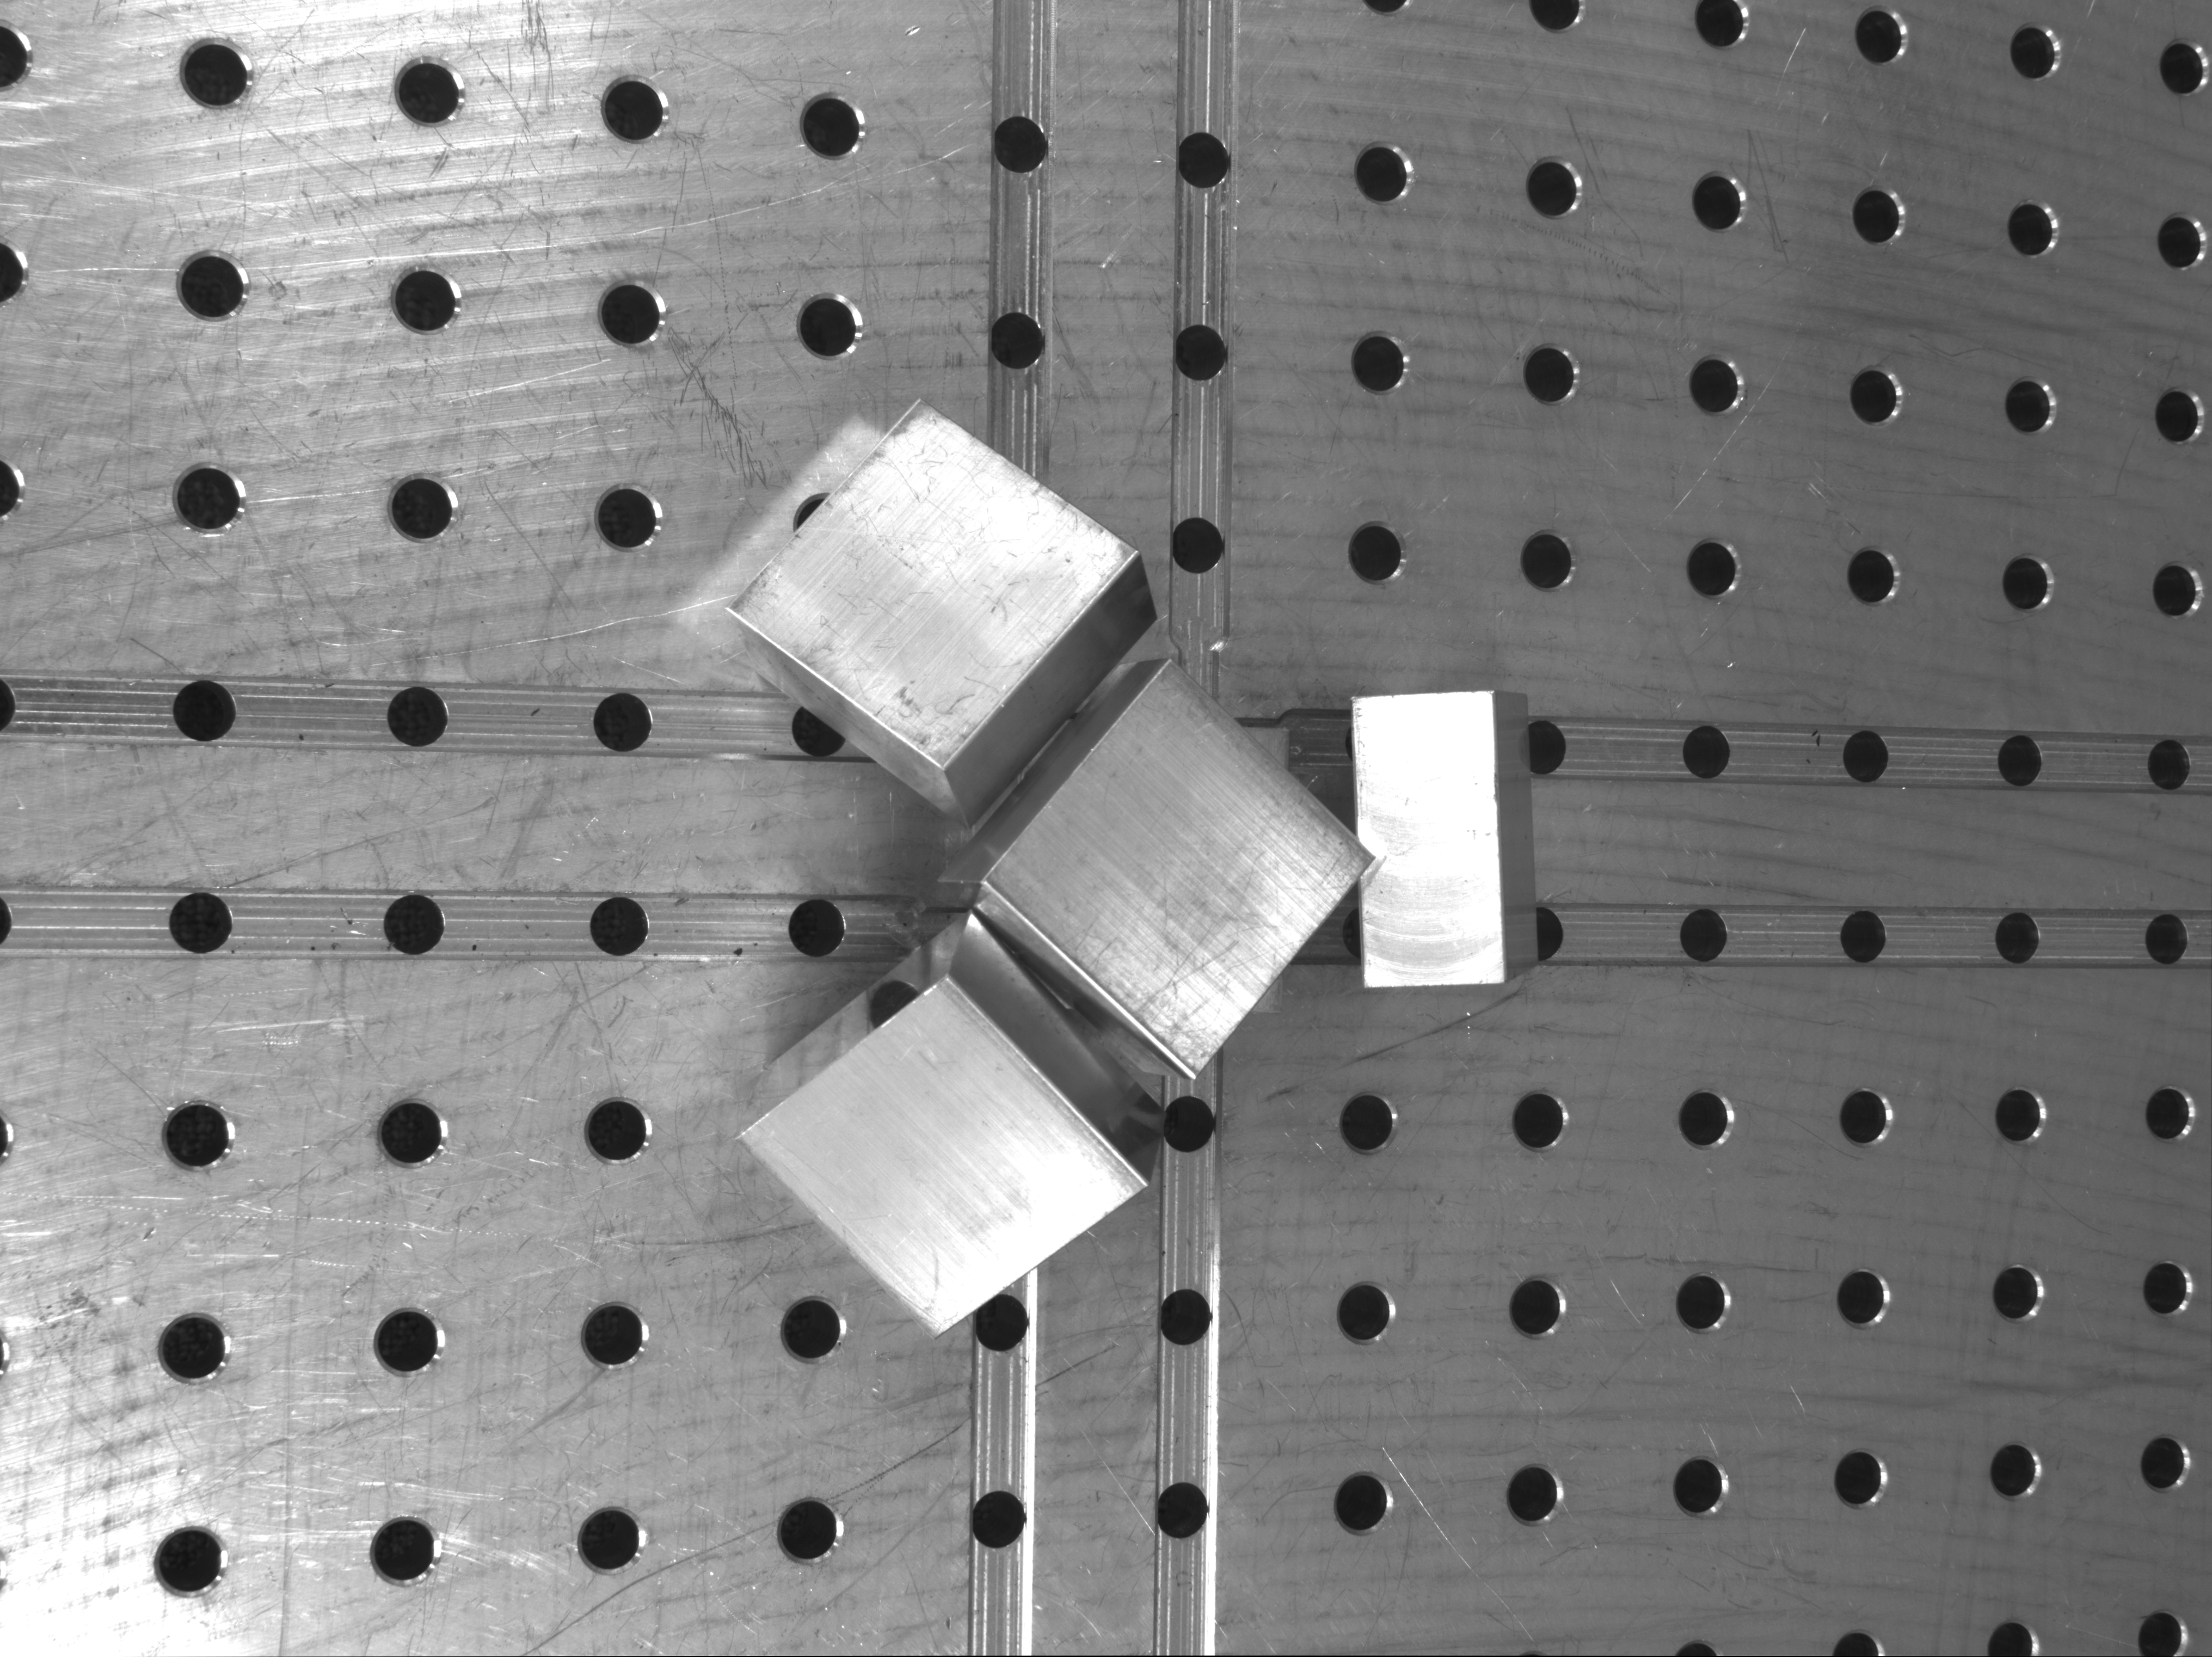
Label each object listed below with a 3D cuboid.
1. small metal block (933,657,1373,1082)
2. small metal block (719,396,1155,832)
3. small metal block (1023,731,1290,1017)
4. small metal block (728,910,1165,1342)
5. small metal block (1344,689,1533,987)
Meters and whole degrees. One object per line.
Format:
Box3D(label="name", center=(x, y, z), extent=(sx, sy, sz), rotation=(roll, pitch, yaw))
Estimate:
Box3D(label="small metal block", center=(0.008, 0.007, 0.622), extent=(0.050, 0.025, 0.050), rotation=(43, 76, -15))
Box3D(label="small metal block", center=(-0.028, -0.037, 0.623), extent=(0.050, 0.025, 0.050), rotation=(36, 76, 20))
Box3D(label="small metal block", center=(0.003, 0.007, 0.647), extent=(0.050, 0.025, 0.050), rotation=(2, 92, -20))
Box3D(label="small metal block", center=(-0.027, 0.050, 0.623), extent=(0.050, 0.025, 0.050), rotation=(-38, 105, 22))
Box3D(label="small metal block", center=(0.060, 0.001, 0.651), extent=(0.025, 0.050, 0.050), rotation=(-2, 91, 13))
